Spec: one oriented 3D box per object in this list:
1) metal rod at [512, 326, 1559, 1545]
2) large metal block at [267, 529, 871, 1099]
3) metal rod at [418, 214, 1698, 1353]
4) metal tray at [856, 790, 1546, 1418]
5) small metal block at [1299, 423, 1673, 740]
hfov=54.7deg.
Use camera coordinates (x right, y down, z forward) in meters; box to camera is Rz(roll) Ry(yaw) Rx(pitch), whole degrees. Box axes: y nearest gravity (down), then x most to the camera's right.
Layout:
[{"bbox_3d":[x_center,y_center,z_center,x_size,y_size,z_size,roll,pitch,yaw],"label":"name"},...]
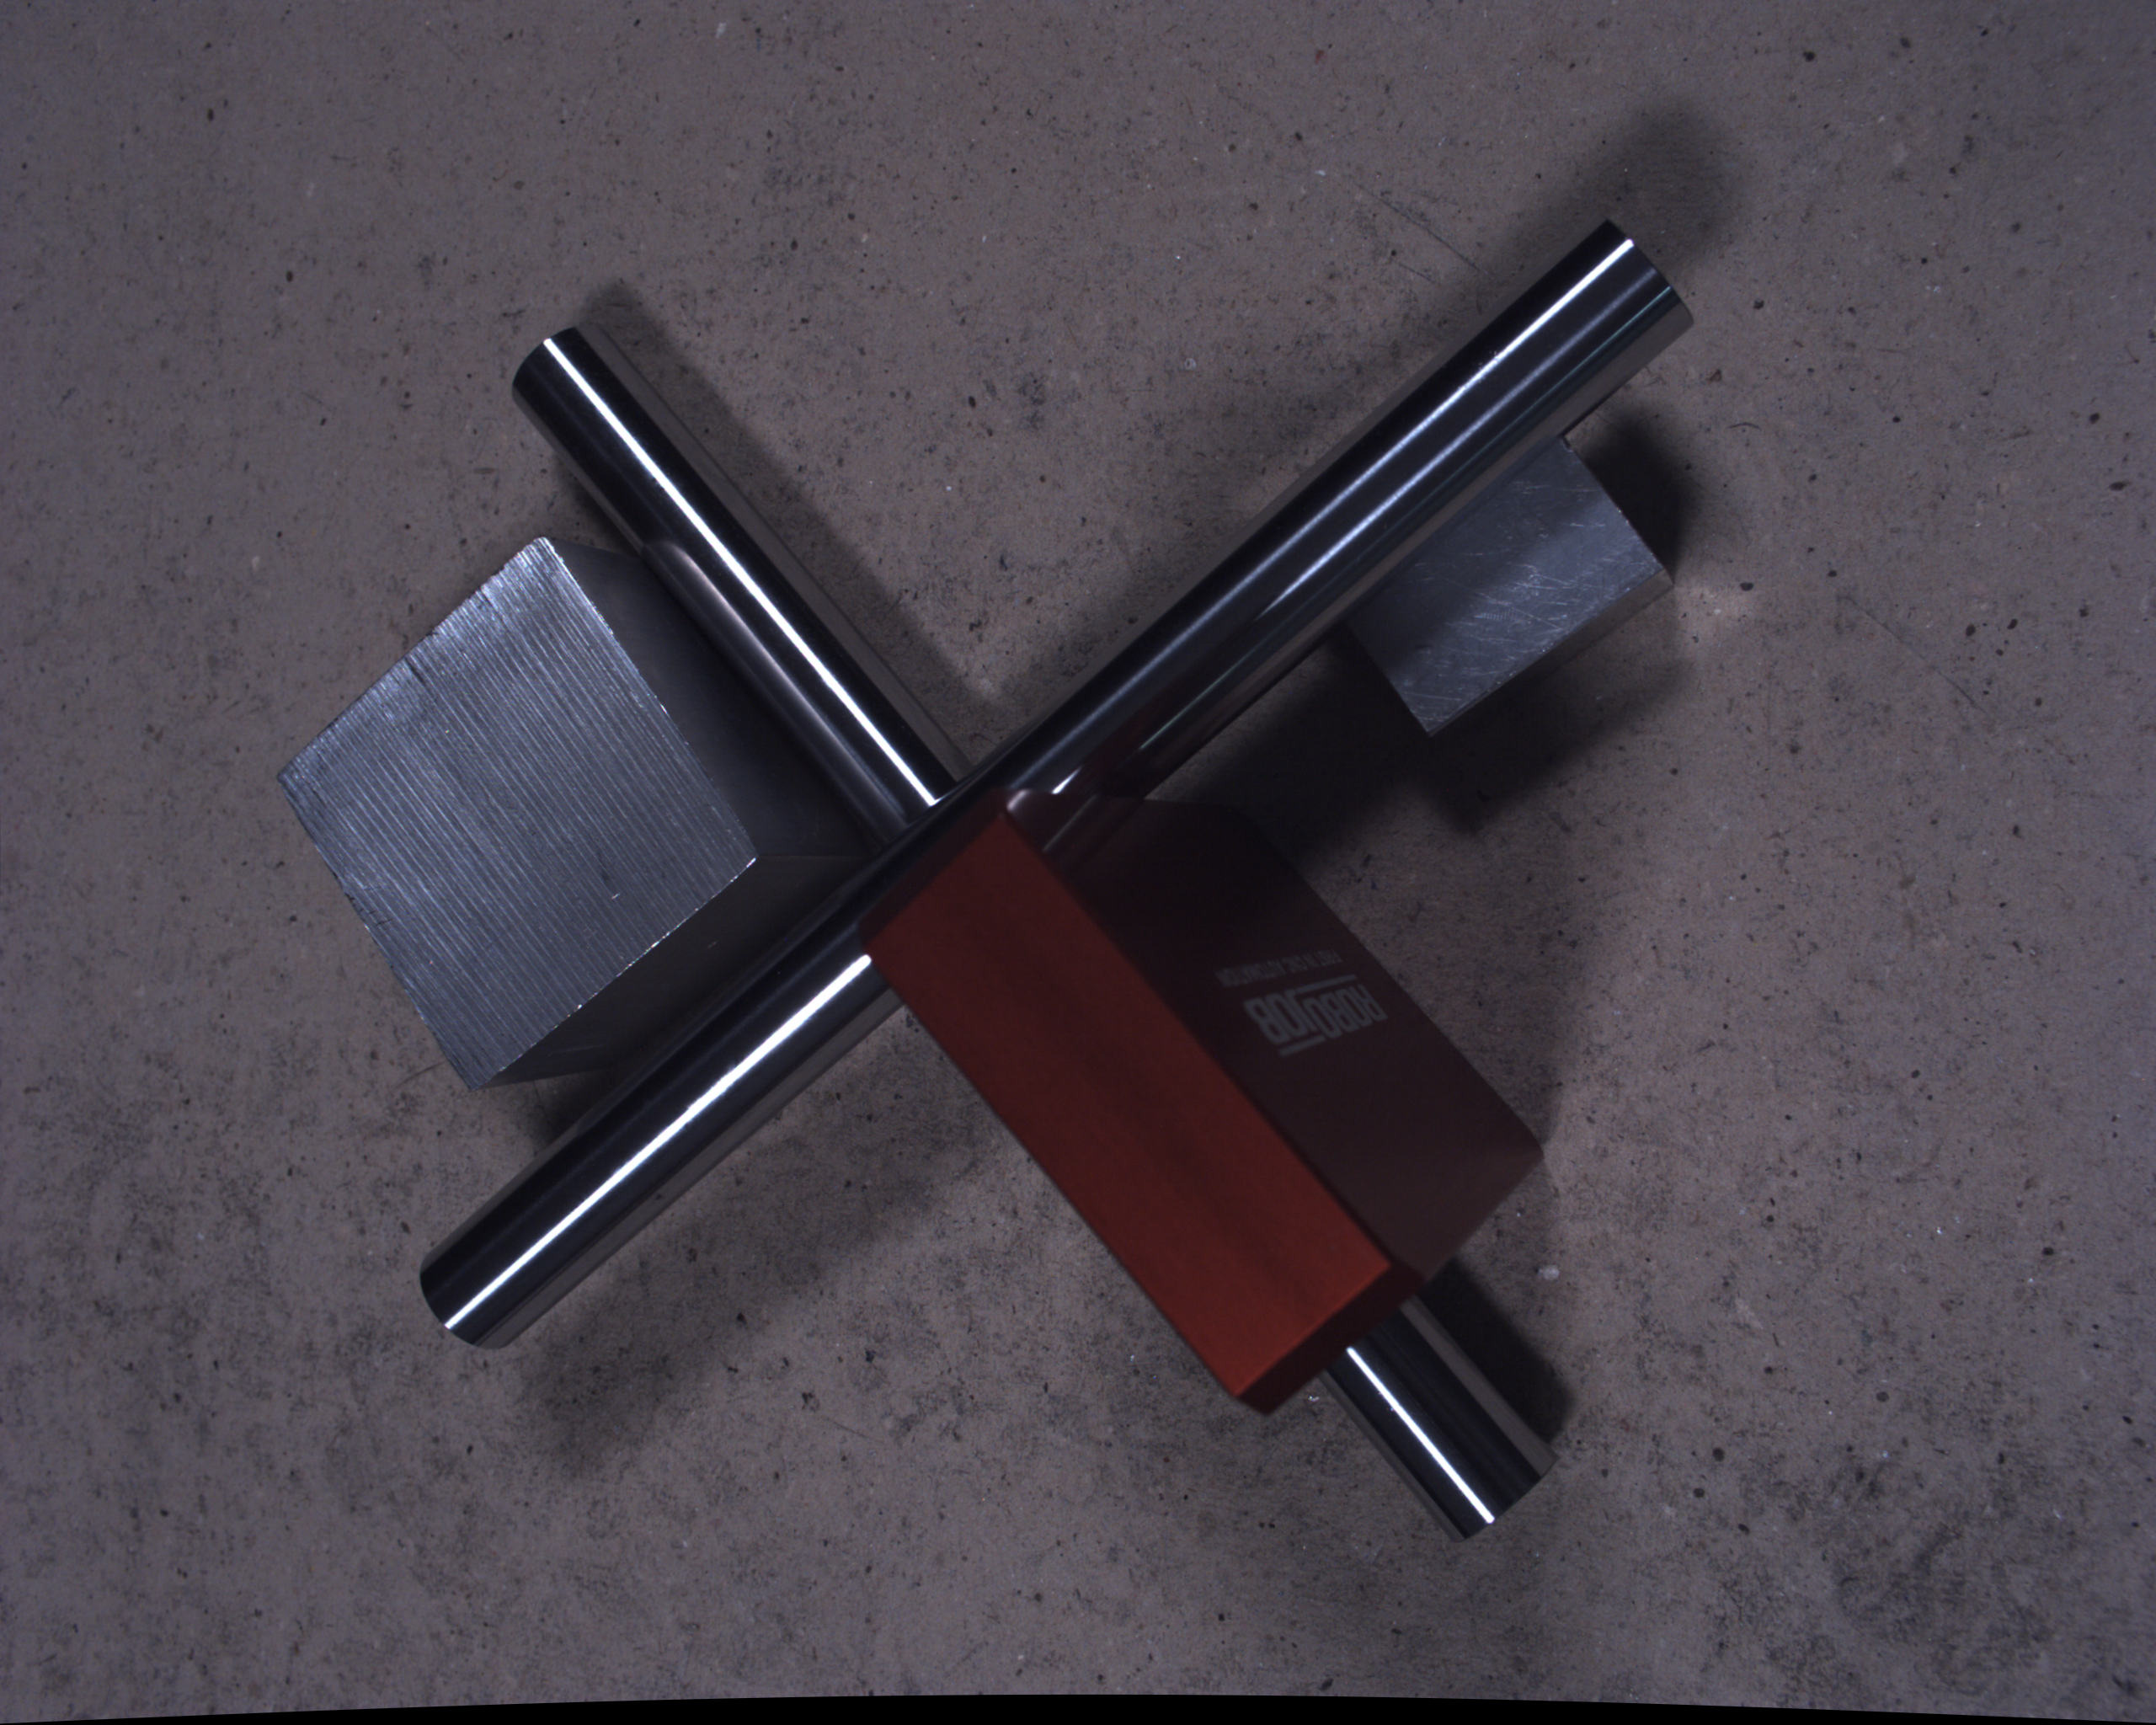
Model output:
[{"bbox_3d":[-0.016,0.005,0.415,0.025,0.025,0.300,-44,77,14],"label":"metal rod"},{"bbox_3d":[-0.104,-0.009,0.431,0.080,0.050,0.080,-38,78,15],"label":"large metal block"},{"bbox_3d":[-0.014,-0.005,0.387,0.299,0.025,0.025,-41,78,15],"label":"metal rod"},{"bbox_3d":[0.027,0.032,0.343,0.030,0.130,0.090,-44,76,15],"label":"metal tray"},{"bbox_3d":[0.073,-0.057,0.384,0.050,0.025,0.050,-37,79,16],"label":"small metal block"}]
